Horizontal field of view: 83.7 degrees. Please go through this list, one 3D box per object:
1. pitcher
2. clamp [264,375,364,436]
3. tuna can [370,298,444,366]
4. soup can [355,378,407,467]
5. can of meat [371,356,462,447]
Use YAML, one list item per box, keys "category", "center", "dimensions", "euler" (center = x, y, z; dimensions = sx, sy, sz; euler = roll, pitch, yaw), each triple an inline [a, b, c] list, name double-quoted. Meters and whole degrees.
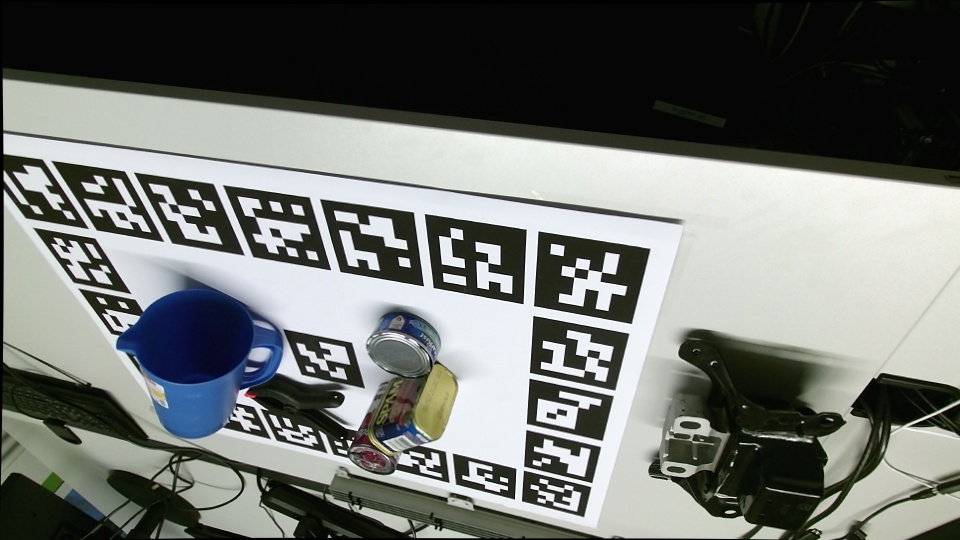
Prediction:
- category: "pitcher"
  center: [-0.388, 0.137, 0.739]
  dimensions: [0.190, 0.132, 0.243]
  euler: [9, 143, -18]
- category: "clamp"
  center: [-0.262, 0.201, 0.832]
  dimensions: [0.165, 0.036, 0.122]
  euler: [13, 136, 13]
- category: "tuna can"
  center: [-0.088, 0.076, 0.653]
  dimensions: [0.086, 0.033, 0.086]
  euler: [9, 129, 12]
- category: "soup can"
  center: [-0.121, 0.206, 0.732]
  dimensions: [0.068, 0.101, 0.068]
  euler: [8, 129, 10]
- category: "can of meat"
  center: [-0.078, 0.163, 0.675]
  dimensions: [0.084, 0.101, 0.058]
  euler: [-25, 116, 30]
